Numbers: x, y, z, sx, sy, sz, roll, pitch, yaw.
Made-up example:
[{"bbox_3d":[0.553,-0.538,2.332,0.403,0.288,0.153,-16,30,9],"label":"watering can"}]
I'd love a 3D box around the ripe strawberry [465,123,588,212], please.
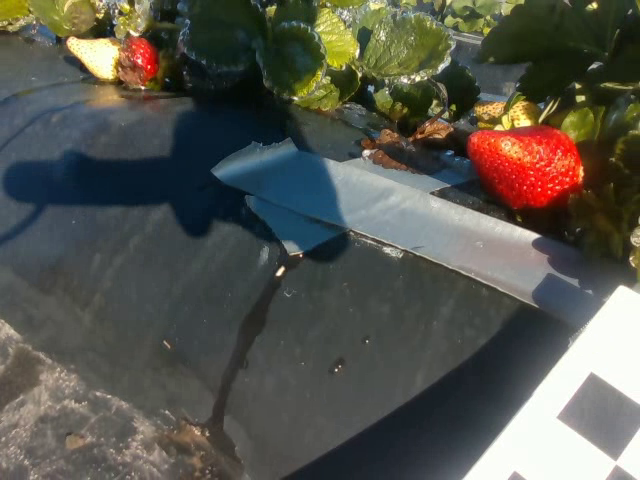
[{"bbox_3d":[0.102,-0.039,0.318,0.065,0.062,0.057,16,-47,-37],"label":"ripe strawberry"}]
